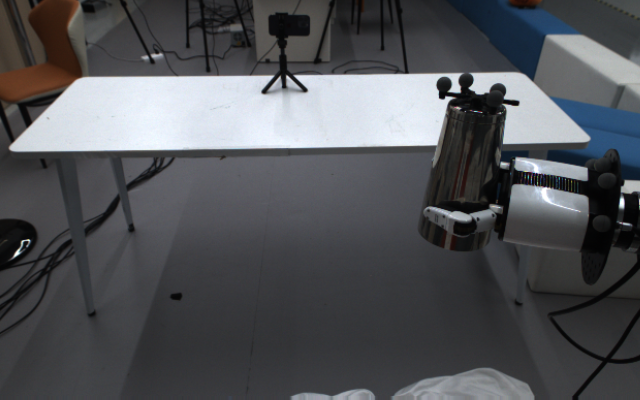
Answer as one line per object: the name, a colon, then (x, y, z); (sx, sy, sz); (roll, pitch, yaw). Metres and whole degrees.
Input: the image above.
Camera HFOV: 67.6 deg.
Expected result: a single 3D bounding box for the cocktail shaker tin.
cocktail shaker tin: (0.179, -0.034, 0.595); (0.093, 0.170, 0.093); (1, 28, -1)
